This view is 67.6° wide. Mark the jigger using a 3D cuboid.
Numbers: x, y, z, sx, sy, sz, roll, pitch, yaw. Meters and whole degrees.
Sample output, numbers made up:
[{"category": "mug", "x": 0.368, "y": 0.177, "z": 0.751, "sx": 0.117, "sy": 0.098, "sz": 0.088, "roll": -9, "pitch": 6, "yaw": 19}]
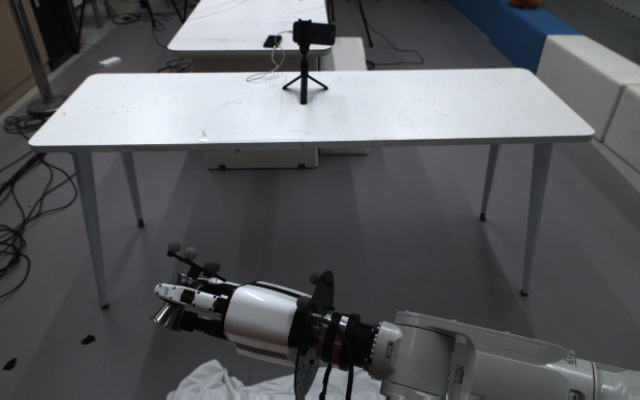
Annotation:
[{"category": "jigger", "x": -0.188, "y": 0.133, "z": 0.639, "sx": 0.043, "sy": 0.043, "sz": 0.071, "roll": 20, "pitch": 74, "yaw": 24}]
